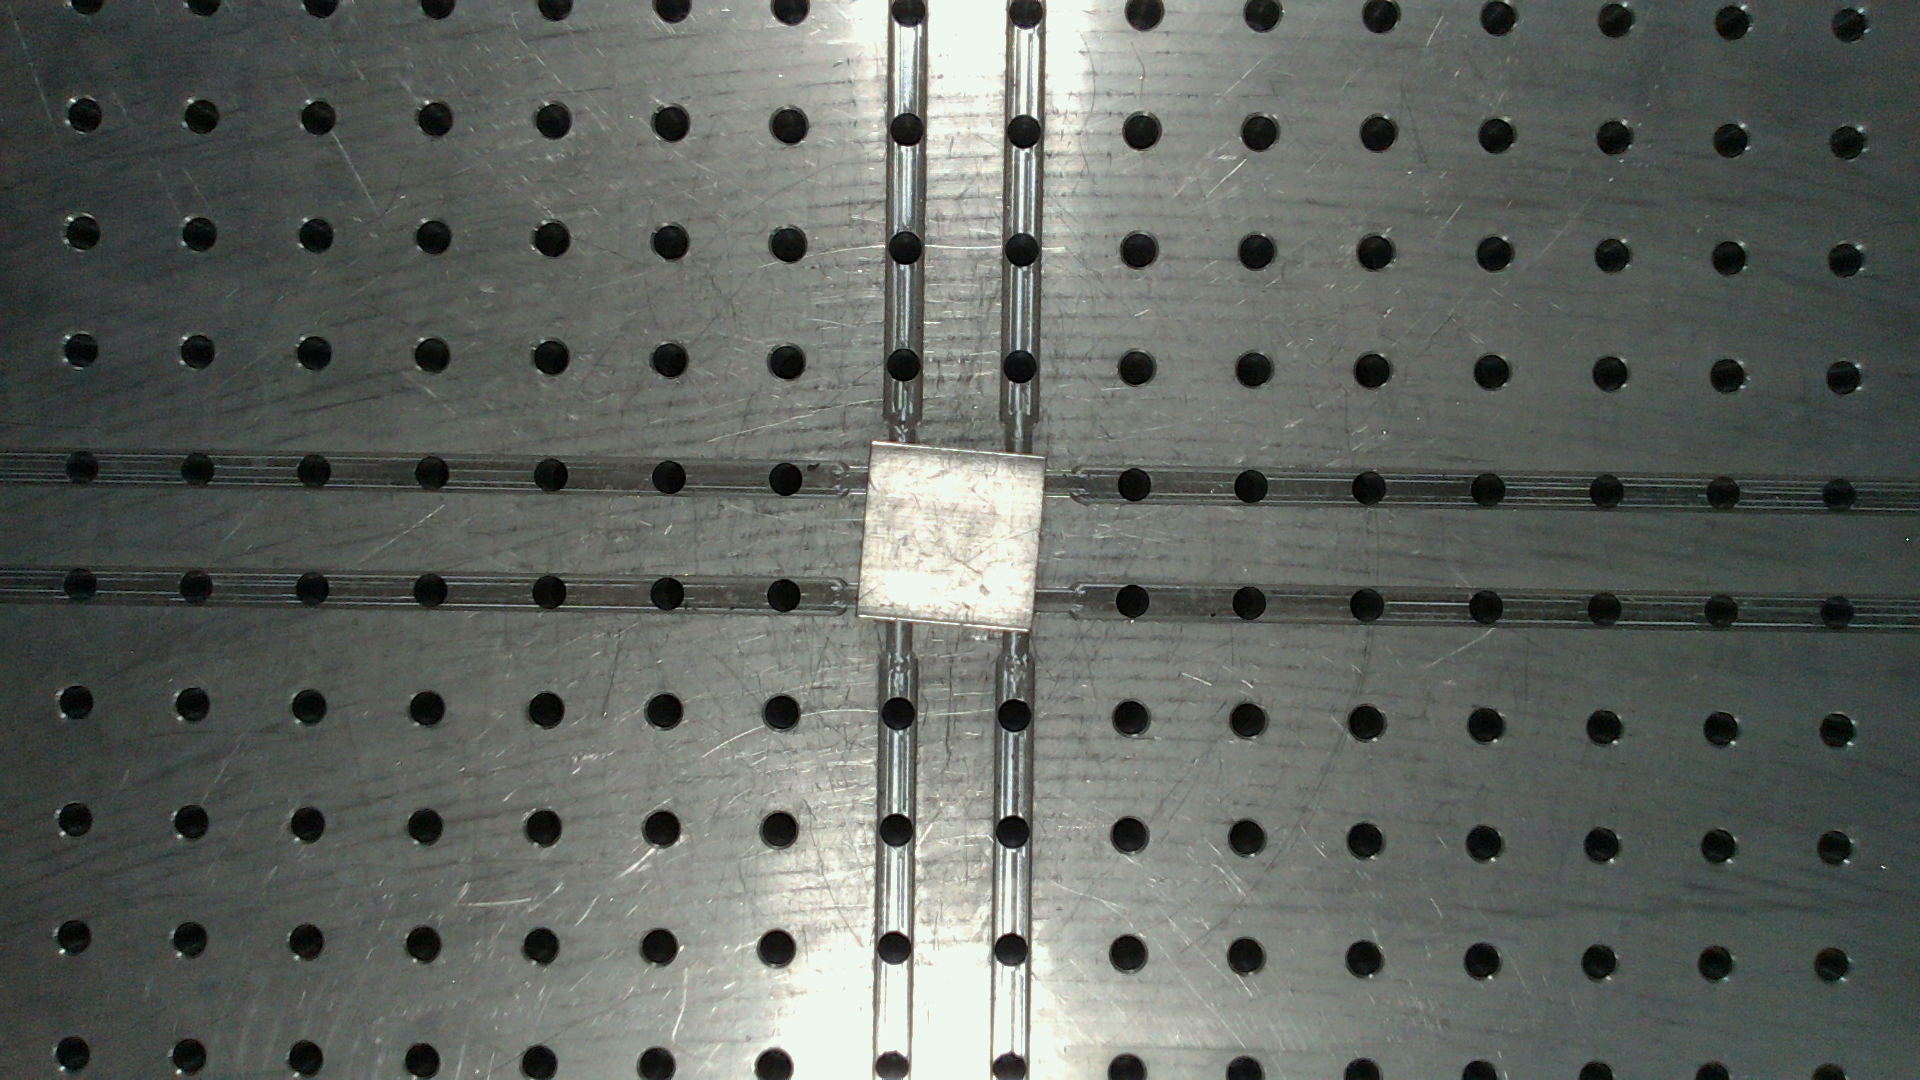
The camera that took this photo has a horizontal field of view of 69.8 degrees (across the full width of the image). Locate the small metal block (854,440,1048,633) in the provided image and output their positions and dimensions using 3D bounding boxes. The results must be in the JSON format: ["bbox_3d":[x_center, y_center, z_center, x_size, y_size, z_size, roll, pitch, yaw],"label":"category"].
[{"bbox_3d":[-0.002,-0.001,0.397,0.050,0.025,0.050,5,90,0],"label":"small metal block"}]
